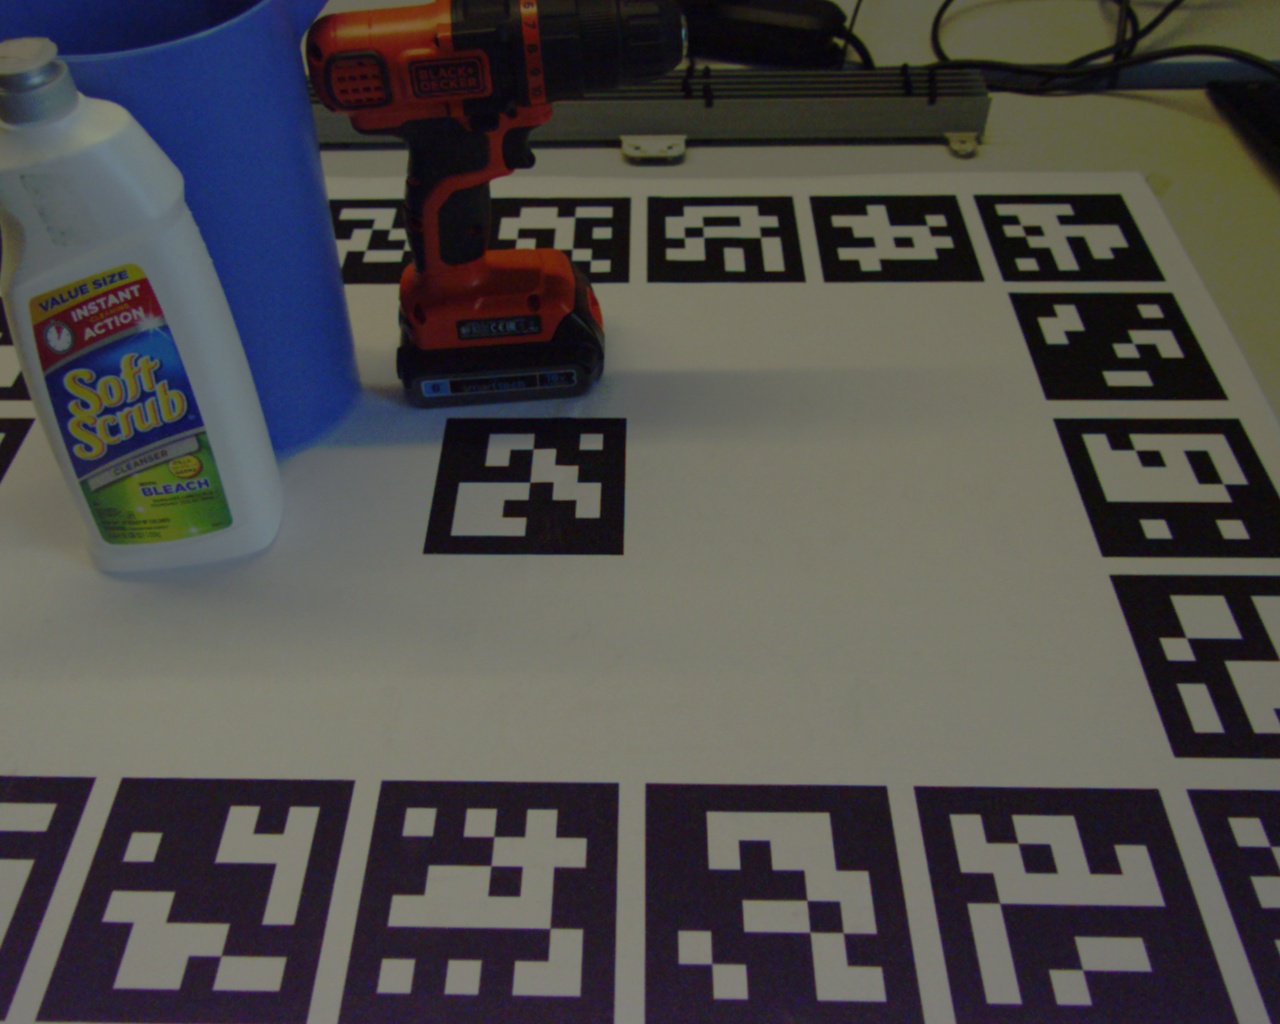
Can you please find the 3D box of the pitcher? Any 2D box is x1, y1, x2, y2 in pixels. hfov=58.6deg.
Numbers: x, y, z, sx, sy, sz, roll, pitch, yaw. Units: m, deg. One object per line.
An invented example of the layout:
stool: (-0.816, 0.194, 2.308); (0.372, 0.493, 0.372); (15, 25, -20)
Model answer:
pitcher: (-0.225, -0.157, 0.598); (0.187, 0.241, 0.135); (-21, 54, -17)

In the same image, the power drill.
power drill: (-0.057, -0.166, 0.613); (0.184, 0.187, 0.057); (-1, 52, -7)

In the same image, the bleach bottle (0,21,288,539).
bleach bottle: (-0.235, -0.093, 0.516); (0.102, 0.250, 0.068); (-6, 49, -4)
